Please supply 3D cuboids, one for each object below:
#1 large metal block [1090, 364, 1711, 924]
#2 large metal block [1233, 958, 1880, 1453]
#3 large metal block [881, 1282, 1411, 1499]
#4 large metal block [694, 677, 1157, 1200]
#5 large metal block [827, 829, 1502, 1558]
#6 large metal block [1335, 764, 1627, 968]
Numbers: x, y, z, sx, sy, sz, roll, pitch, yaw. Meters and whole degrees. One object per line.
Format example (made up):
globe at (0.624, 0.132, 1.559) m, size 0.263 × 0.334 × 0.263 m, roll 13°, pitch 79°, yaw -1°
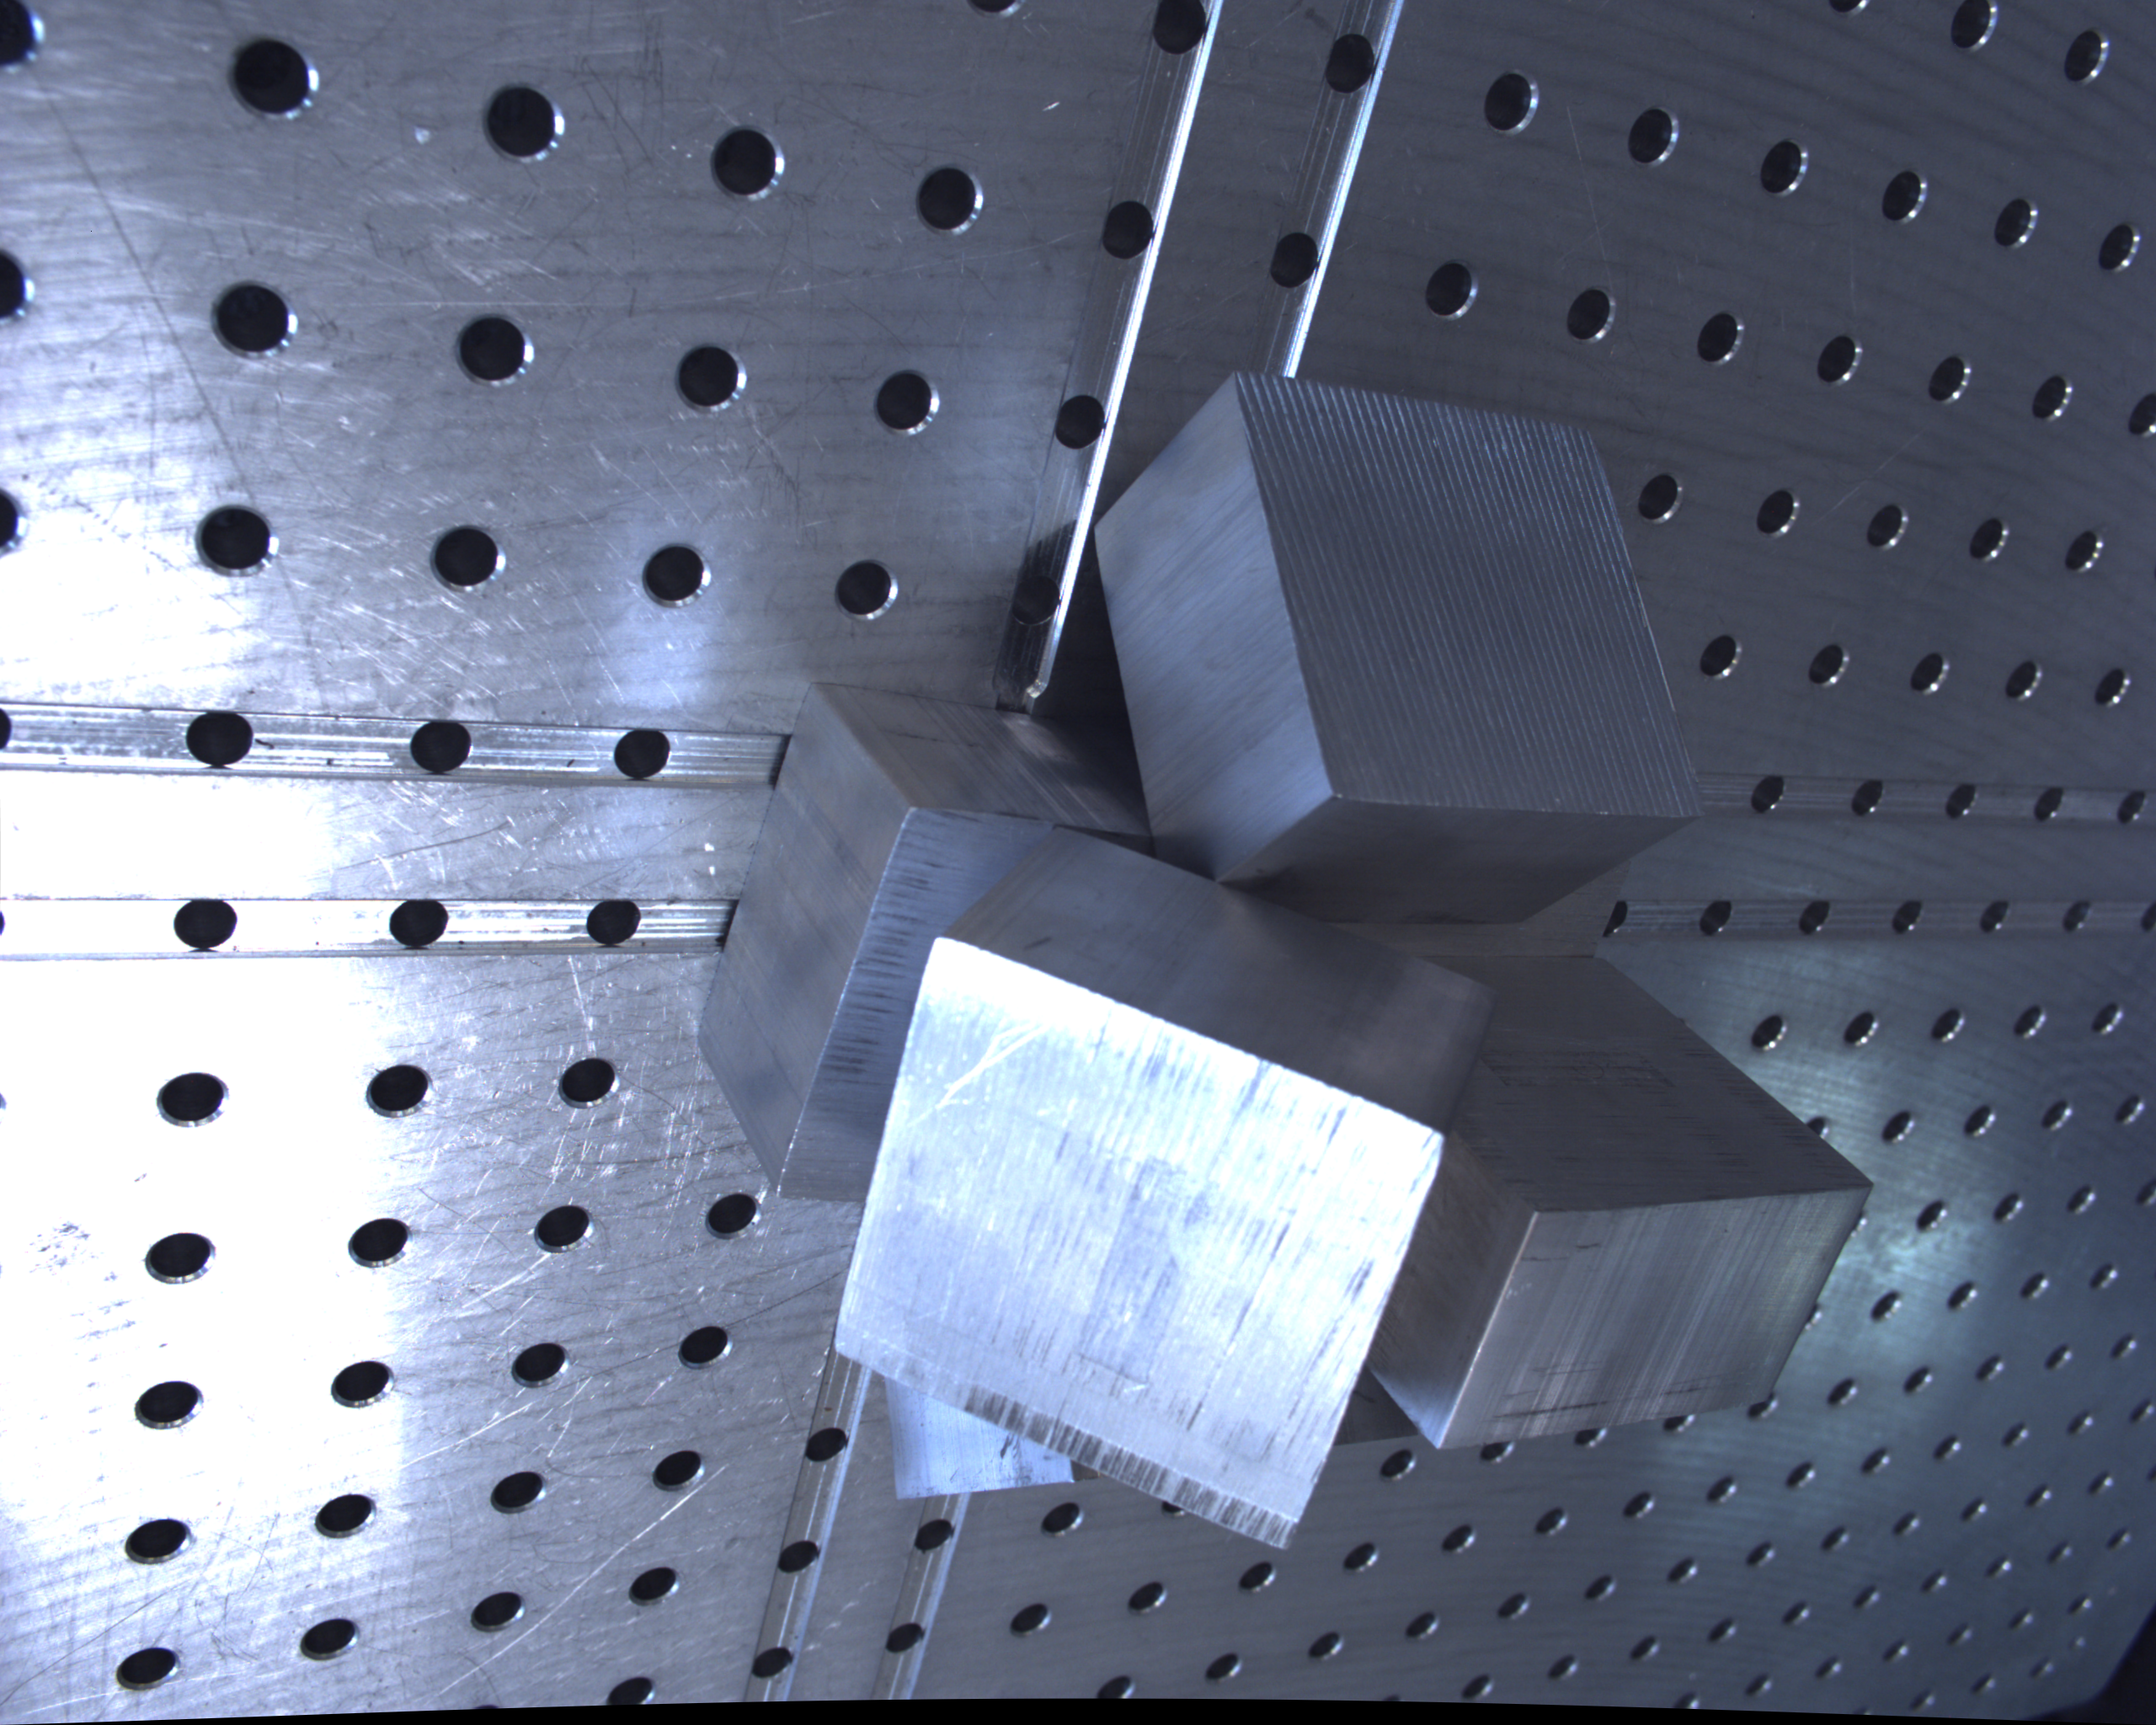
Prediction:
large metal block at (0.056, -0.036, 0.374) m, size 0.081 × 0.080 × 0.050 m, roll 2°, pitch 156°, yaw -29°
large metal block at (0.085, 0.060, 0.393) m, size 0.081 × 0.080 × 0.050 m, roll 1°, pitch 118°, yaw -29°
large metal block at (0.011, 0.101, 0.436) m, size 0.081 × 0.050 × 0.080 m, roll 2°, pitch 162°, yaw -29°
large metal block at (-0.017, 0.017, 0.396) m, size 0.081 × 0.050 × 0.080 m, roll 7°, pitch 115°, yaw -32°
large metal block at (0.014, 0.051, 0.339) m, size 0.080 × 0.050 × 0.079 m, roll 21°, pitch 115°, yaw 11°
large metal block at (0.057, 0.021, 0.438) m, size 0.081 × 0.050 × 0.079 m, roll 3°, pitch 117°, yaw -30°
